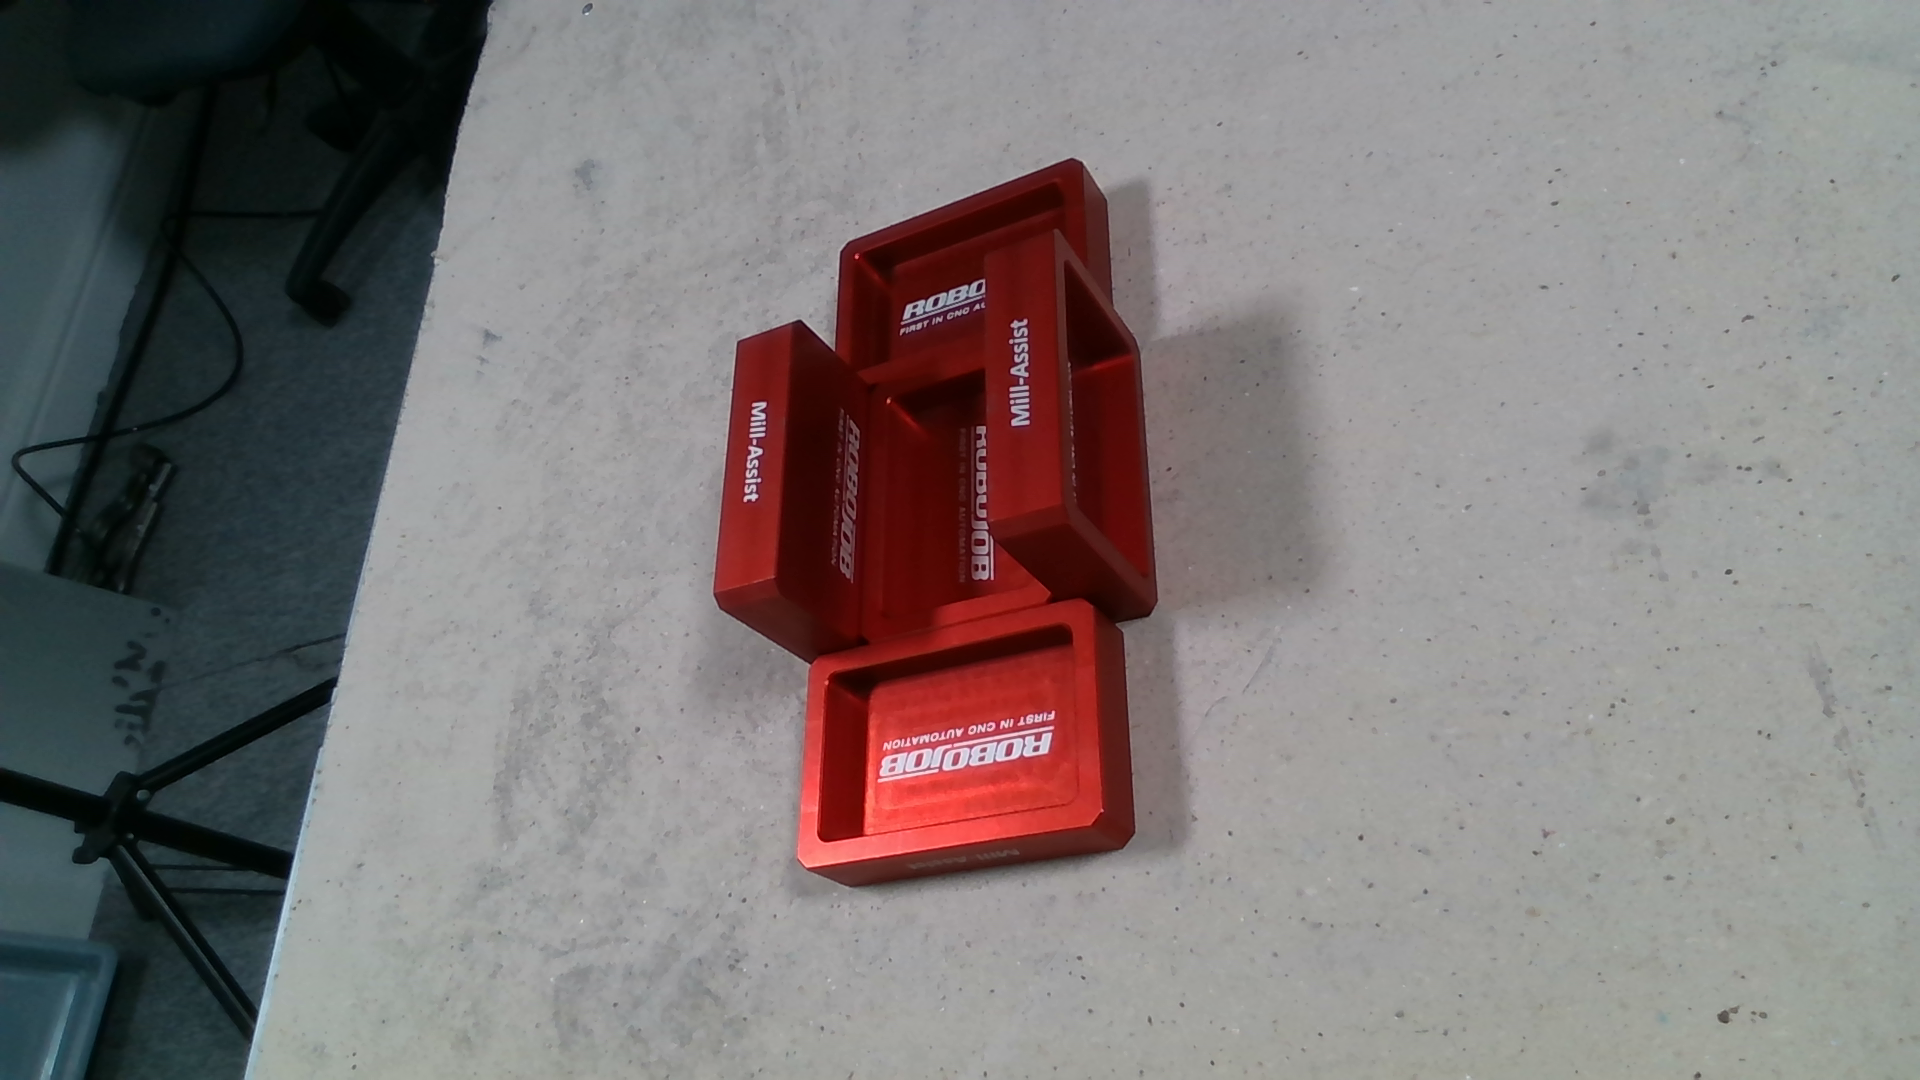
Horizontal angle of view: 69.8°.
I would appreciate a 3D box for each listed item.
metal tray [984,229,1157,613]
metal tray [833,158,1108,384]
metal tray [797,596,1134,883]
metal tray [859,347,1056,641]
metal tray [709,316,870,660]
[{"bbox_3d":[0.044,-0.044,0.540,0.030,0.090,0.130,-14,59,25],"label":"metal tray"},{"bbox_3d":[0.004,-0.115,0.641,0.130,0.030,0.090,-14,59,25],"label":"metal tray"},{"bbox_3d":[0.000,0.080,0.540,0.130,0.030,0.090,-14,59,25],"label":"metal tray"},{"bbox_3d":[0.005,-0.019,0.589,0.090,0.030,0.130,-14,59,25],"label":"metal tray"},{"bbox_3d":[-0.063,-0.018,0.590,0.030,0.090,0.130,-14,59,25],"label":"metal tray"}]
